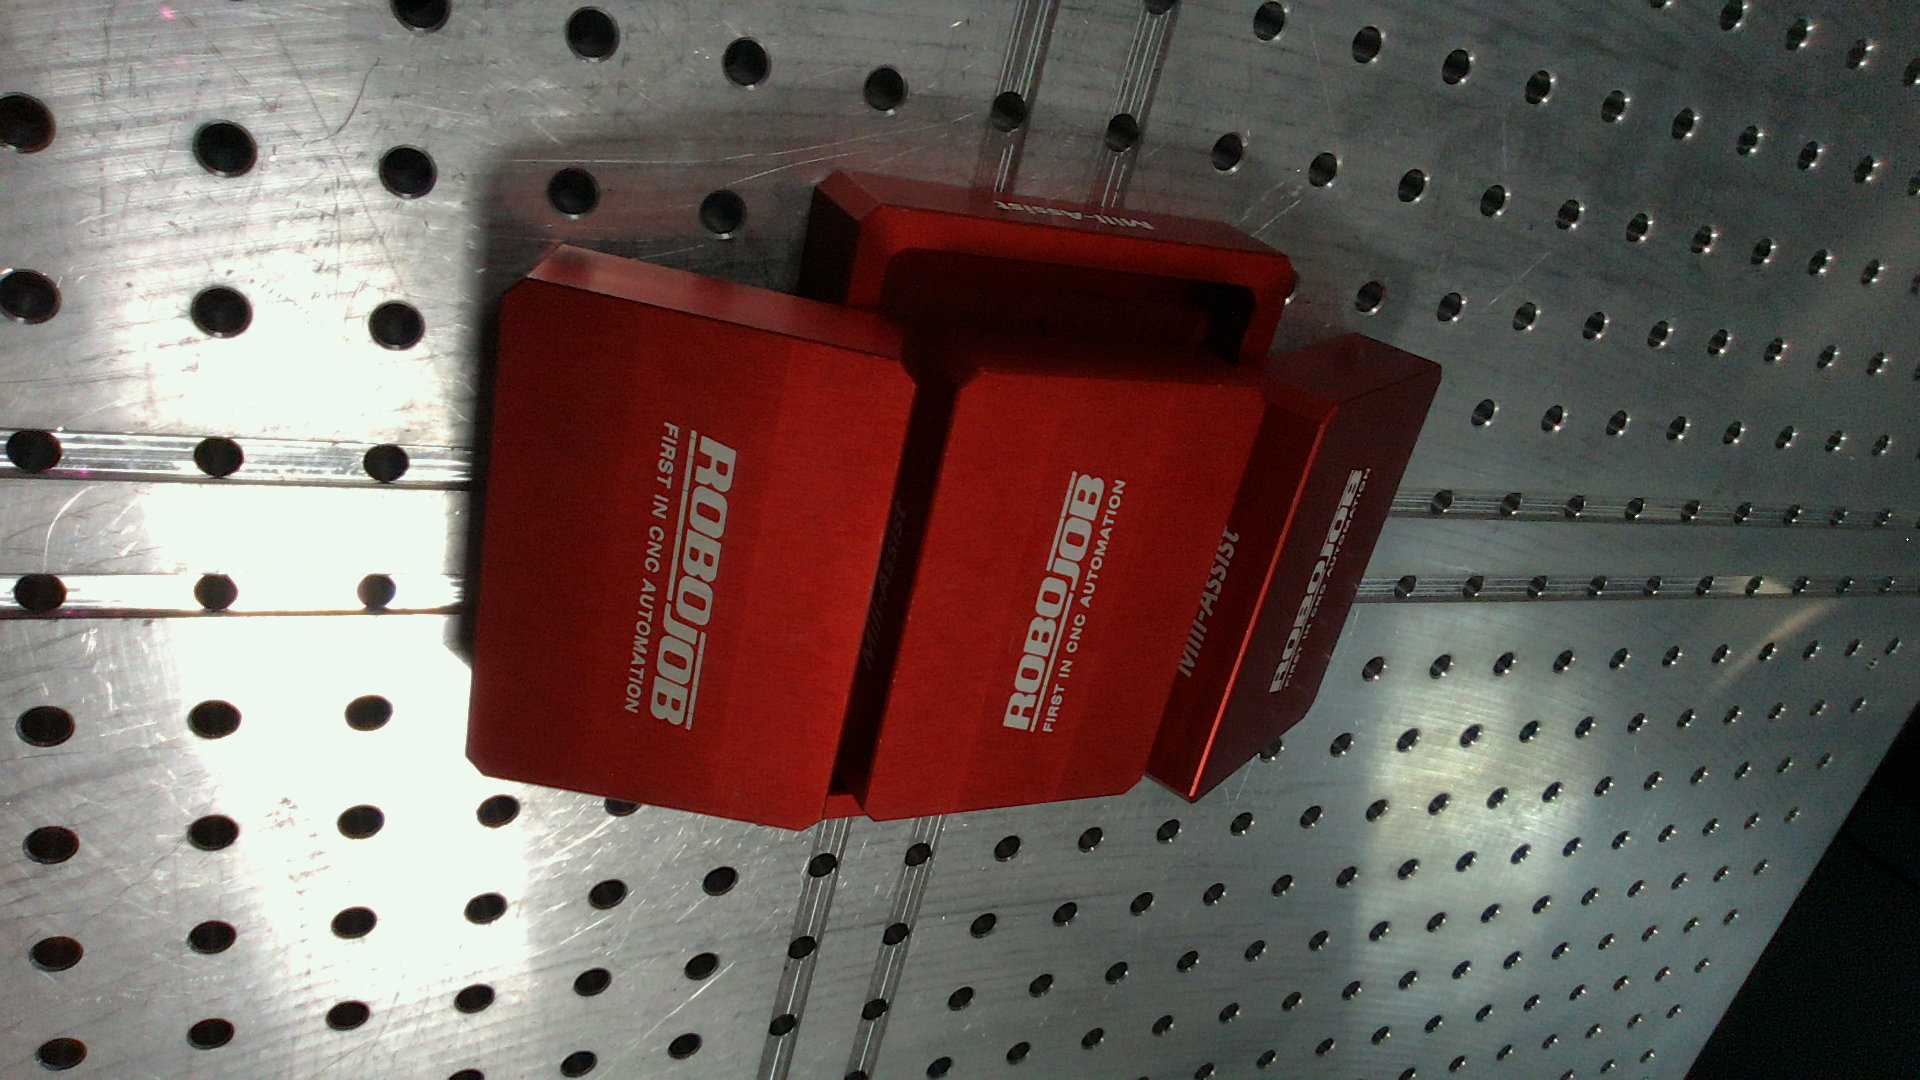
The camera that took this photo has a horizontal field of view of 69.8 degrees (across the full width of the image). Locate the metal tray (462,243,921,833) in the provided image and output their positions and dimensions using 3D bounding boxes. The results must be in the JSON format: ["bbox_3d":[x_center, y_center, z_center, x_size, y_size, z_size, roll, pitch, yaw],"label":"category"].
[{"bbox_3d":[-0.066,0.004,0.332,0.090,0.030,0.130,12,115,-5],"label":"metal tray"}]

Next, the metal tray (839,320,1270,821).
[{"bbox_3d":[0.021,0.010,0.368,0.090,0.030,0.130,-1,119,-28],"label":"metal tray"}]

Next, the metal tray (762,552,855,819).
[{"bbox_3d":[-0.001,0.035,0.411,0.130,0.030,0.090,0,119,-29],"label":"metal tray"}]

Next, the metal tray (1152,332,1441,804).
[{"bbox_3d":[0.097,0.007,0.421,0.090,0.030,0.130,-21,132,-50],"label":"metal tray"}]

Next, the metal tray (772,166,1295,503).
[{"bbox_3d":[0.019,-0.045,0.372,0.130,0.030,0.090,0,119,-29],"label":"metal tray"}]
